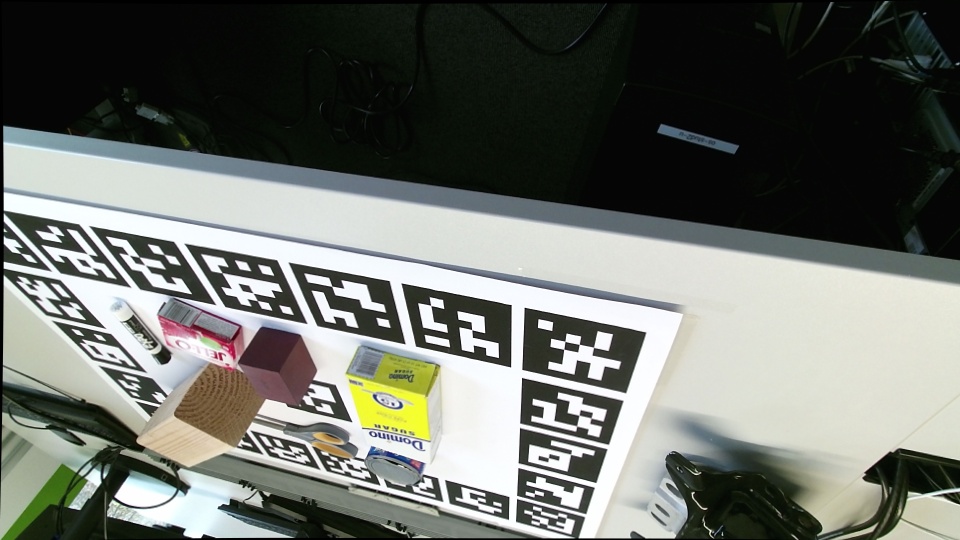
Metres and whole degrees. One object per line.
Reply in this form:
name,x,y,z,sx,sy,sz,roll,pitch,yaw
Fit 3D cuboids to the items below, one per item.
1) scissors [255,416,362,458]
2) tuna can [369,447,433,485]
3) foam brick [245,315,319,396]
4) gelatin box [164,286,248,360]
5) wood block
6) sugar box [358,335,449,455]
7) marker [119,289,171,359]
scissors,-0.277,0.238,0.806,0.203,0.016,0.088,13,136,4
tuna can,-0.111,0.268,0.760,0.086,0.033,0.086,10,135,10
foam brick,-0.228,0.099,0.619,0.053,0.051,0.078,11,135,9
gelatin box,-0.325,0.065,0.642,0.089,0.030,0.073,23,136,-3
wood block,-0.400,0.196,0.760,0.090,0.090,0.206,41,133,-21
sugar box,-0.088,0.153,0.636,0.093,0.045,0.176,13,136,8
marker,-0.430,0.073,0.692,0.020,0.019,0.121,11,134,9
